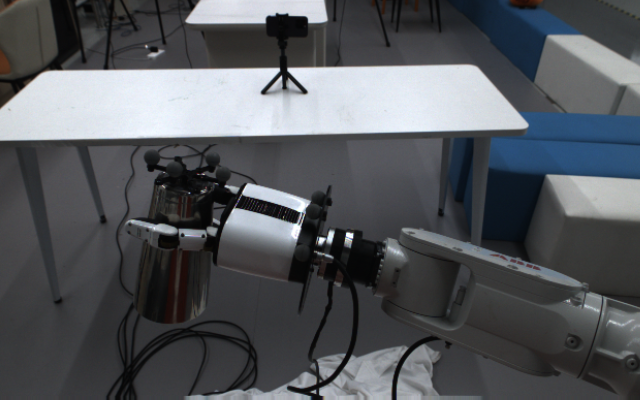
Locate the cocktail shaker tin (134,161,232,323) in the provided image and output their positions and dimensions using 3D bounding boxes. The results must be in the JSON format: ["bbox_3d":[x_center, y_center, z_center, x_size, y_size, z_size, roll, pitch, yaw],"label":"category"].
[{"bbox_3d":[-0.168,0.051,0.585,0.093,0.170,0.093,12,25,-6],"label":"cocktail shaker tin"}]
